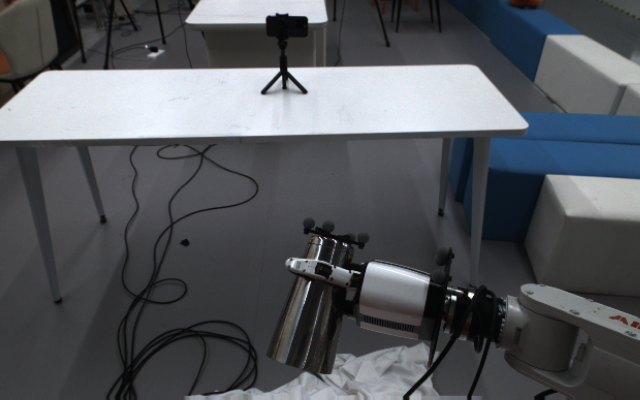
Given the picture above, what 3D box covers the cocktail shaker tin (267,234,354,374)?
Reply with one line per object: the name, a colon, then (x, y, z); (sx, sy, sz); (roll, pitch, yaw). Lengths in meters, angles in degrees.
cocktail shaker tin: (-0.003, 0.138, 0.665); (0.093, 0.093, 0.170); (13, 76, 15)
